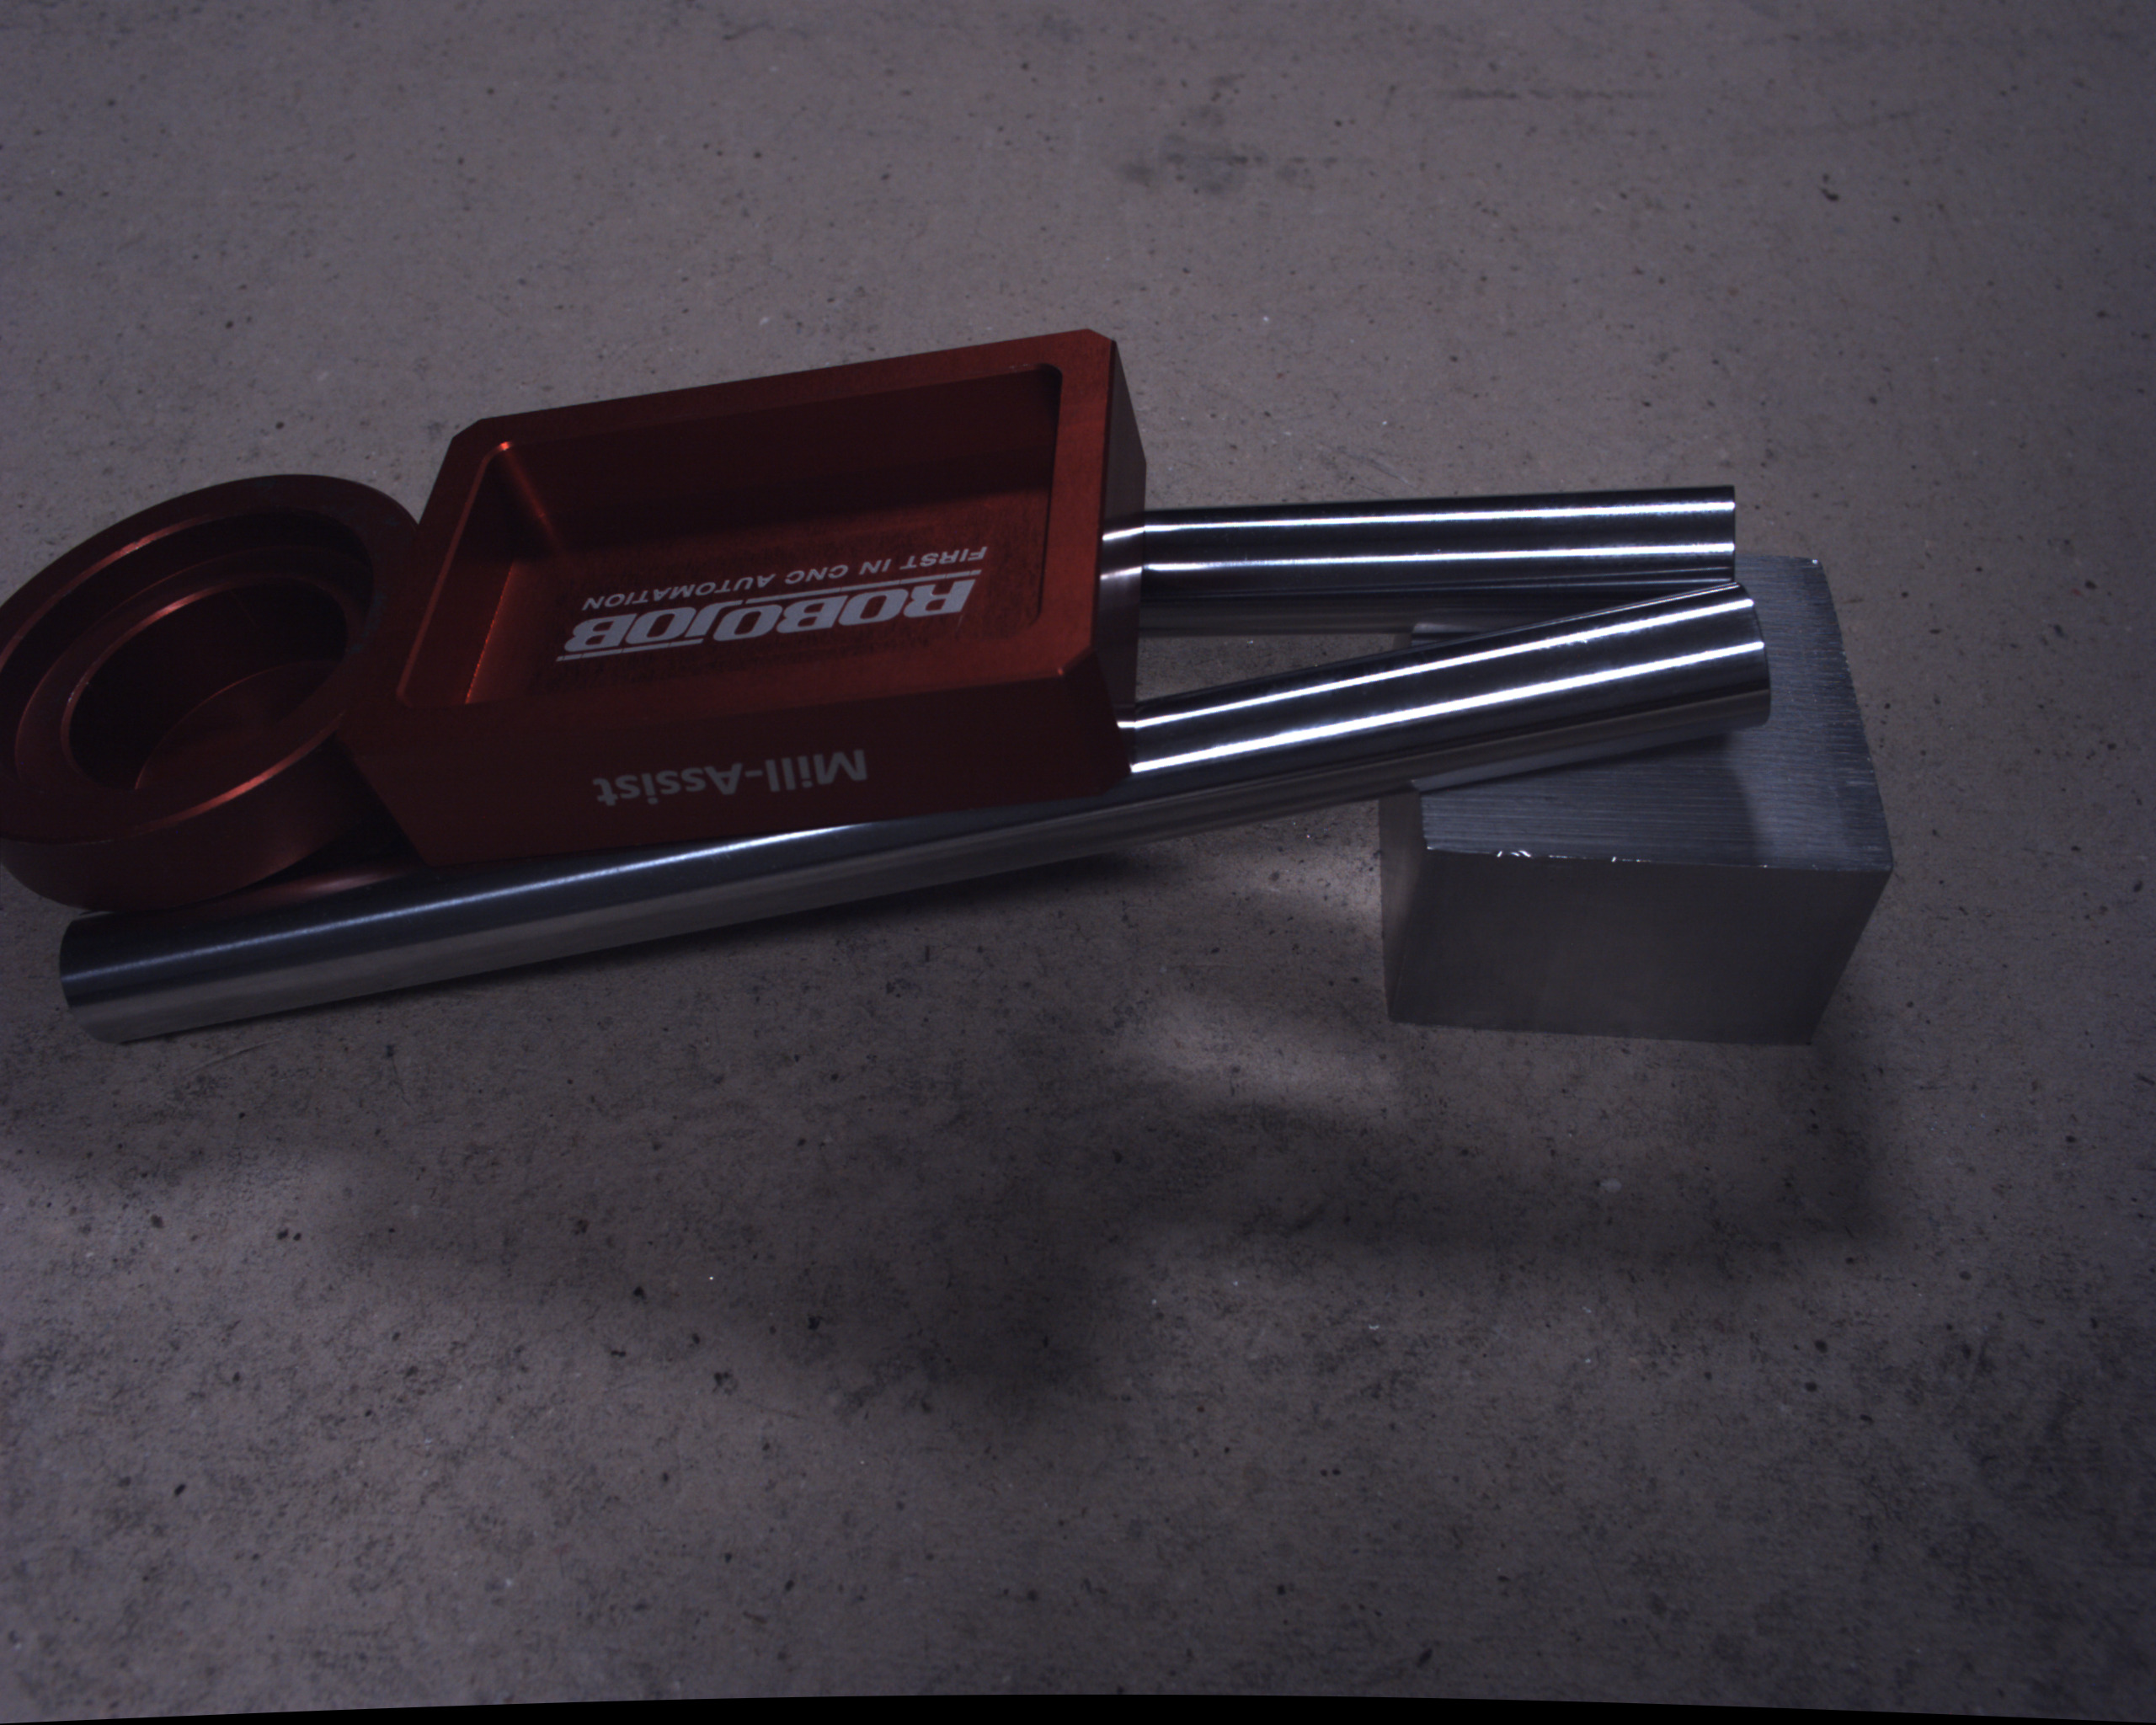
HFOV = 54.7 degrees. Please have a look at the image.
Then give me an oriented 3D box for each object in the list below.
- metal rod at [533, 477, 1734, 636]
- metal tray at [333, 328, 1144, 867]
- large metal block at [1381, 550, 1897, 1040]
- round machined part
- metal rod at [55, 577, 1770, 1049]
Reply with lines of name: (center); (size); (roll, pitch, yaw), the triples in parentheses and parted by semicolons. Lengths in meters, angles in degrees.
metal rod: (-0.029, -0.056, 0.409); (0.301, 0.025, 0.025); (0, 49, 16)
metal tray: (-0.056, -0.048, 0.374); (0.131, 0.030, 0.090); (-6, 49, 11)
large metal block: (0.101, -0.015, 0.400); (0.080, 0.050, 0.080); (3, 50, 2)
round machined part: (-0.165, -0.028, 0.408); (0.098, 0.042, 0.098); (-6, 49, 8)
metal rod: (-0.034, -0.007, 0.368); (0.301, 0.025, 0.025); (-11, 50, 6)
